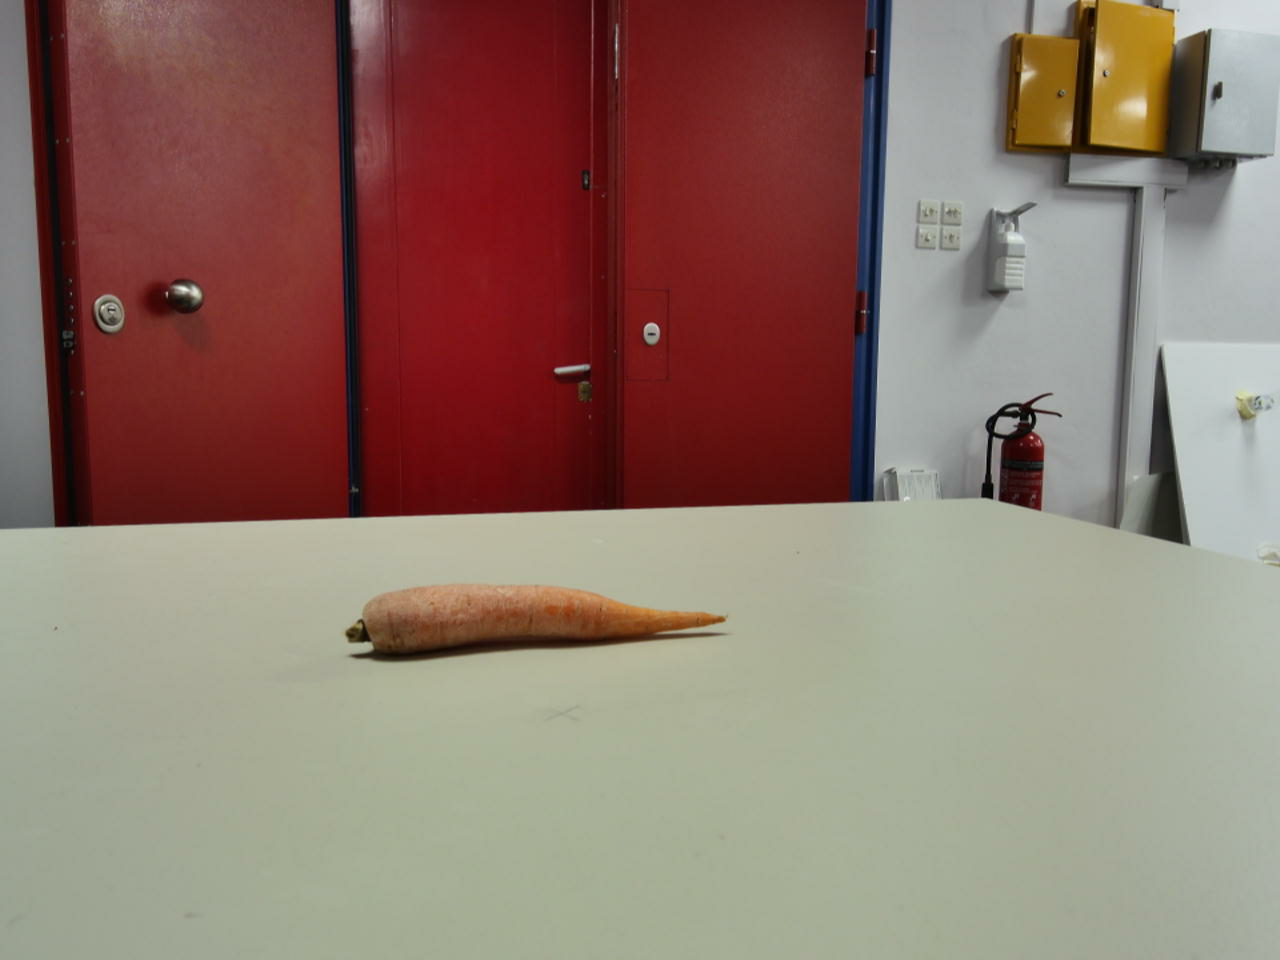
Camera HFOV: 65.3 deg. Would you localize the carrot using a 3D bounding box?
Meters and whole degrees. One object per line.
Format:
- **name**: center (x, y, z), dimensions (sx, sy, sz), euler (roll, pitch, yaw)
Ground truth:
- **carrot**: center (-0.044, 0.058, 0.438), dimensions (0.163, 0.029, 0.031), euler (-1, 5, -13)
